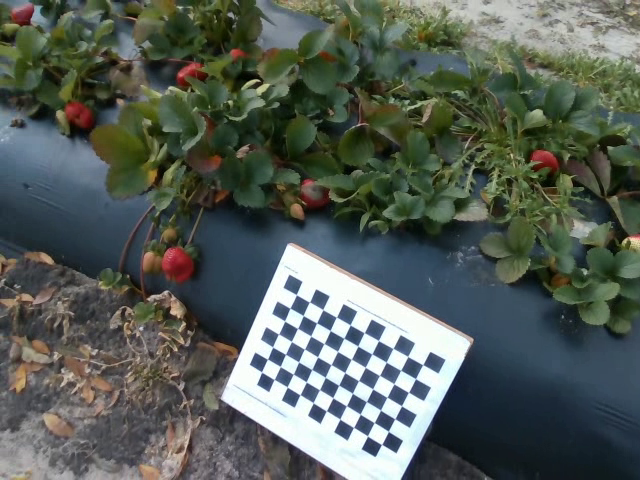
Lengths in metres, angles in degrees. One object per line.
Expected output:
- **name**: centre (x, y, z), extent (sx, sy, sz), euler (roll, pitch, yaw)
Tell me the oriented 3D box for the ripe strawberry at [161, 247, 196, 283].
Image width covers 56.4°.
- **ripe strawberry**: centre (-0.247, 0.044, 1.038), extent (0.066, 0.075, 0.052), euler (9, 7, 13)
